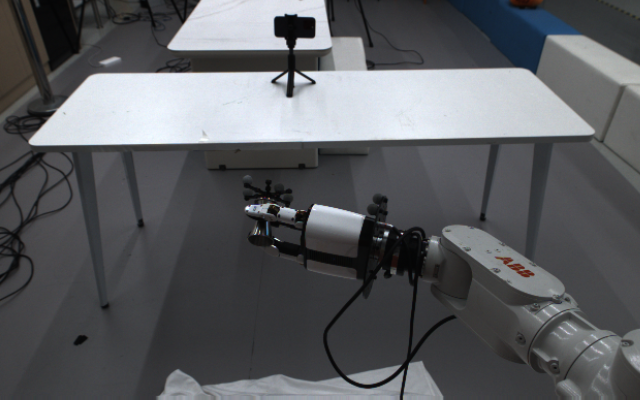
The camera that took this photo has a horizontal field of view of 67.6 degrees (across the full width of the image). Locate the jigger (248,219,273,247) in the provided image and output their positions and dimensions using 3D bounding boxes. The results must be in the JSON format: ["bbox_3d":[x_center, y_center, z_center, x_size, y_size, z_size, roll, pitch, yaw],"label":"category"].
[{"bbox_3d":[-0.092,0.033,0.775,0.043,0.043,0.071,4,60,2],"label":"jigger"}]
